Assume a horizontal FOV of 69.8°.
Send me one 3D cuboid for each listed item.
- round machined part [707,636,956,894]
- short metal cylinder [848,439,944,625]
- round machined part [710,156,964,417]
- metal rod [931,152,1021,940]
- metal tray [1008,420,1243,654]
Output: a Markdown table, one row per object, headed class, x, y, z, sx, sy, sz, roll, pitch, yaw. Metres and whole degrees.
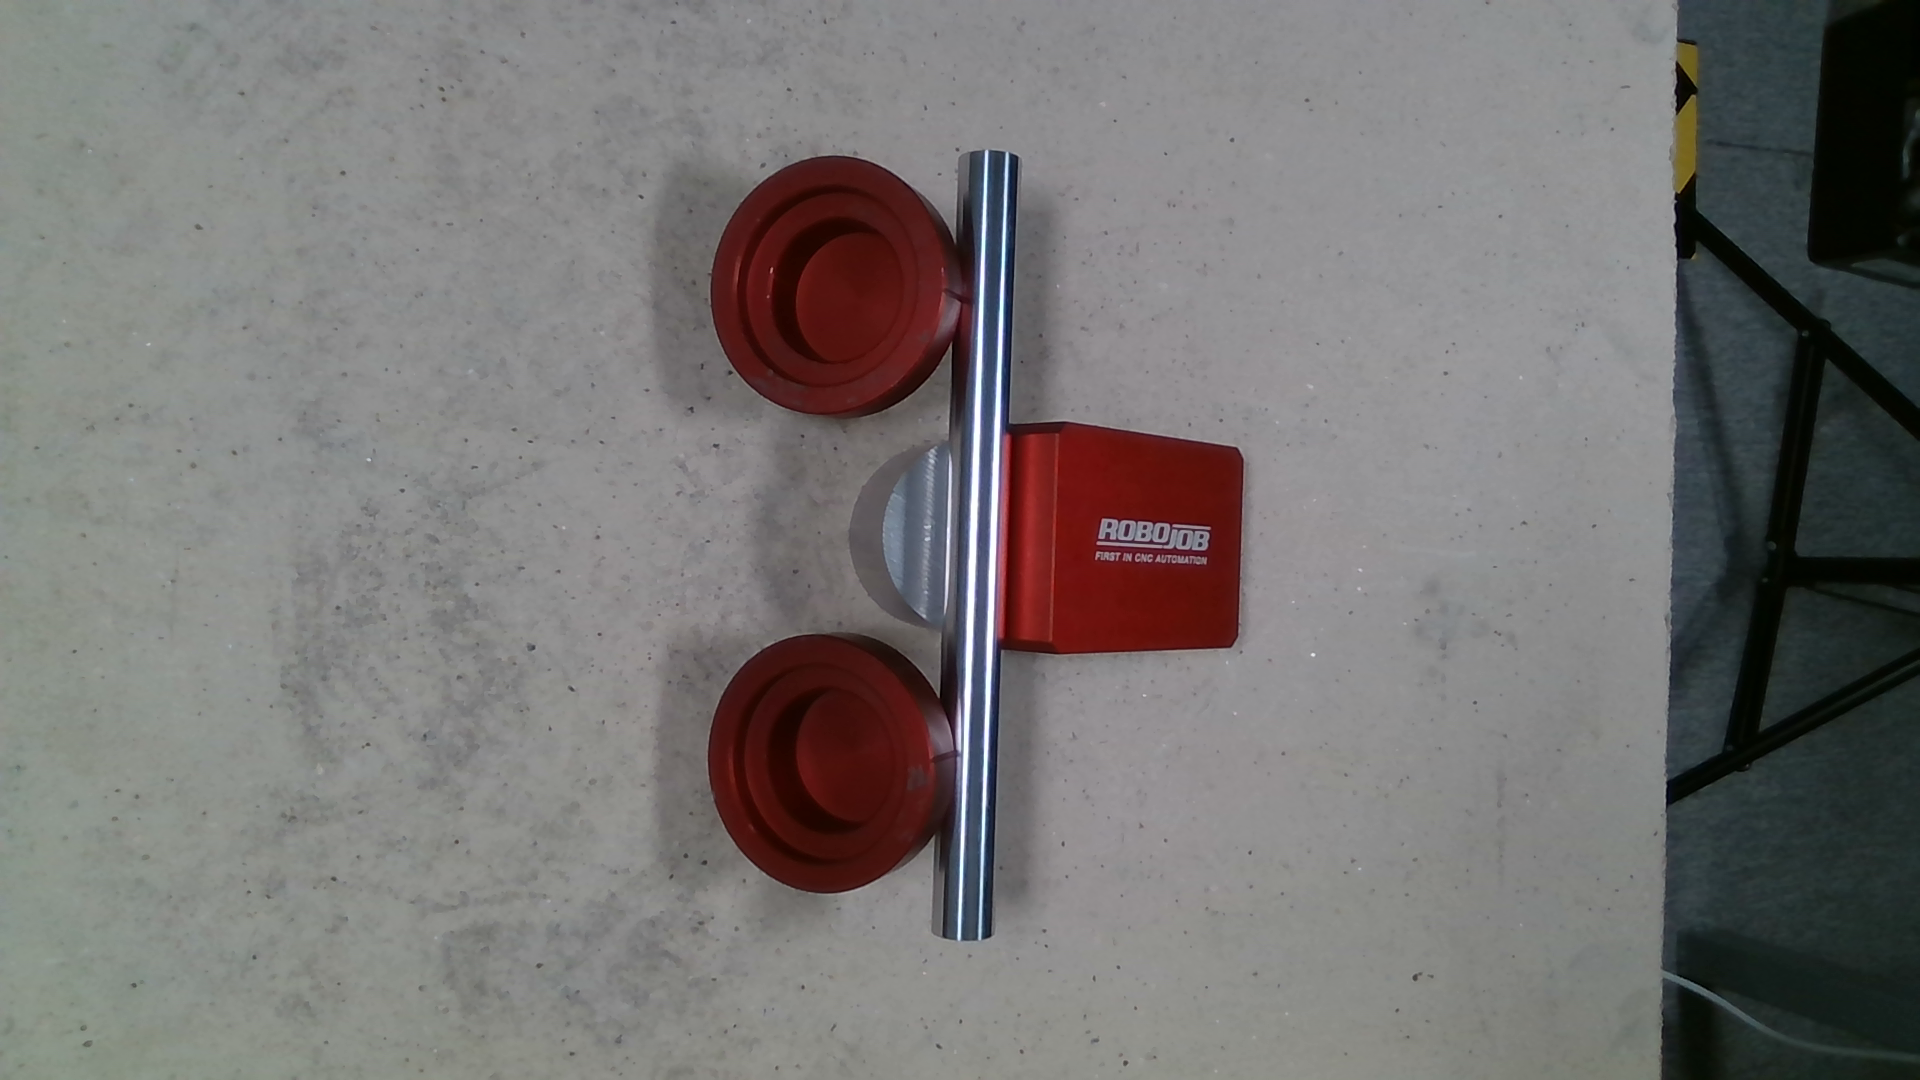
| class | x | y | z | sx | sy | sz | roll | pitch | yaw |
| --- | --- | --- | --- | --- | --- | --- | --- | --- | --- |
| round machined part | -0.047 | 0.086 | 0.541 | 0.098 | 0.042 | 0.098 | 0 | 90 | 22 |
| short metal cylinder | -0.001 | -0.002 | 0.573 | 0.080 | 0.050 | 0.080 | 0 | 90 | -20 |
| round machined part | -0.045 | -0.097 | 0.543 | 0.098 | 0.042 | 0.098 | 0 | 91 | 18 |
| metal rod | 0.006 | 0.002 | 0.536 | 0.025 | 0.025 | 0.300 | 2 | 89 | -20 |
| metal tray | 0.071 | 0.001 | 0.581 | 0.130 | 0.030 | 0.090 | 3 | 89 | -46 |
